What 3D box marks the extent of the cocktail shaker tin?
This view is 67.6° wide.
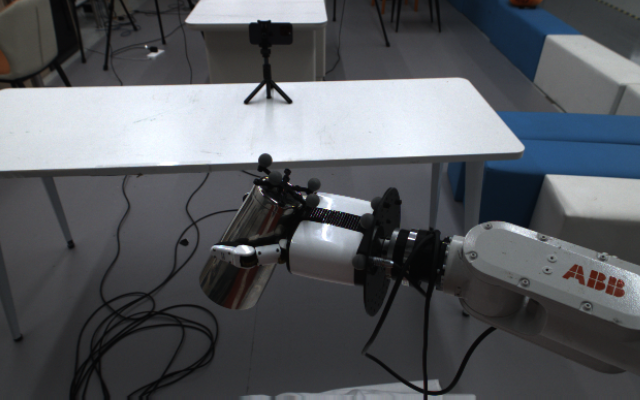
[{"bbox_3d":[-0.086,0.051,0.644,0.093,0.170,0.093,25,29,-15],"label":"cocktail shaker tin"}]
